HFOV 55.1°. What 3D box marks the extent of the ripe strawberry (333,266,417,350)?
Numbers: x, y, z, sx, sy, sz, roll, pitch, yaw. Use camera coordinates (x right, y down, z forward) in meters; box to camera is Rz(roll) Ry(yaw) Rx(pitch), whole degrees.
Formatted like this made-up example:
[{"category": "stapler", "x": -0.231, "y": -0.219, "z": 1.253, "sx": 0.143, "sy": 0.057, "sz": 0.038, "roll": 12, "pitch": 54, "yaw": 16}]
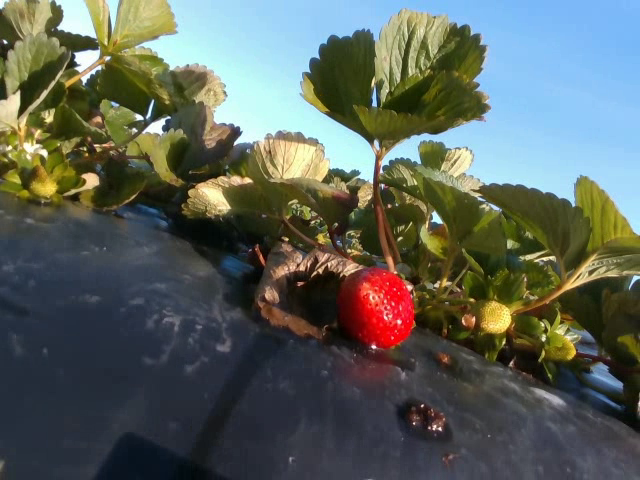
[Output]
[{"category": "ripe strawberry", "x": 0.020, "y": 0.025, "z": 0.234, "sx": 0.047, "sy": 0.037, "sz": 0.054, "roll": 38, "pitch": 3, "yaw": 24}]
